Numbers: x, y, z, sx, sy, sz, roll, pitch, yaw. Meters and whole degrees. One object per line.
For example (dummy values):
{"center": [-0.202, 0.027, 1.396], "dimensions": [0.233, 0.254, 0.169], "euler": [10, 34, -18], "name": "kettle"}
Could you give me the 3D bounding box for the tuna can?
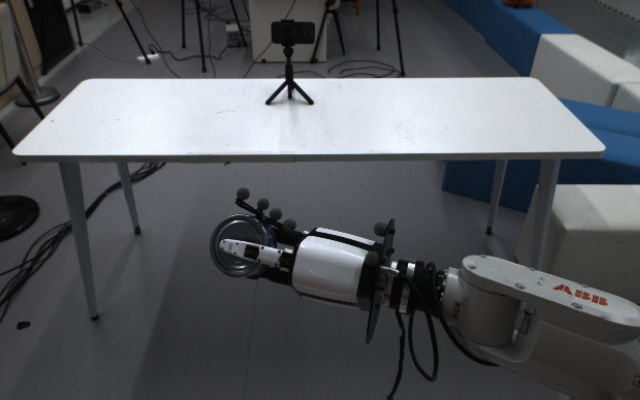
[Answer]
{"center": [-0.100, 0.068, 0.647], "dimensions": [0.085, 0.085, 0.034], "euler": [13, -4, 15], "name": "tuna can"}
